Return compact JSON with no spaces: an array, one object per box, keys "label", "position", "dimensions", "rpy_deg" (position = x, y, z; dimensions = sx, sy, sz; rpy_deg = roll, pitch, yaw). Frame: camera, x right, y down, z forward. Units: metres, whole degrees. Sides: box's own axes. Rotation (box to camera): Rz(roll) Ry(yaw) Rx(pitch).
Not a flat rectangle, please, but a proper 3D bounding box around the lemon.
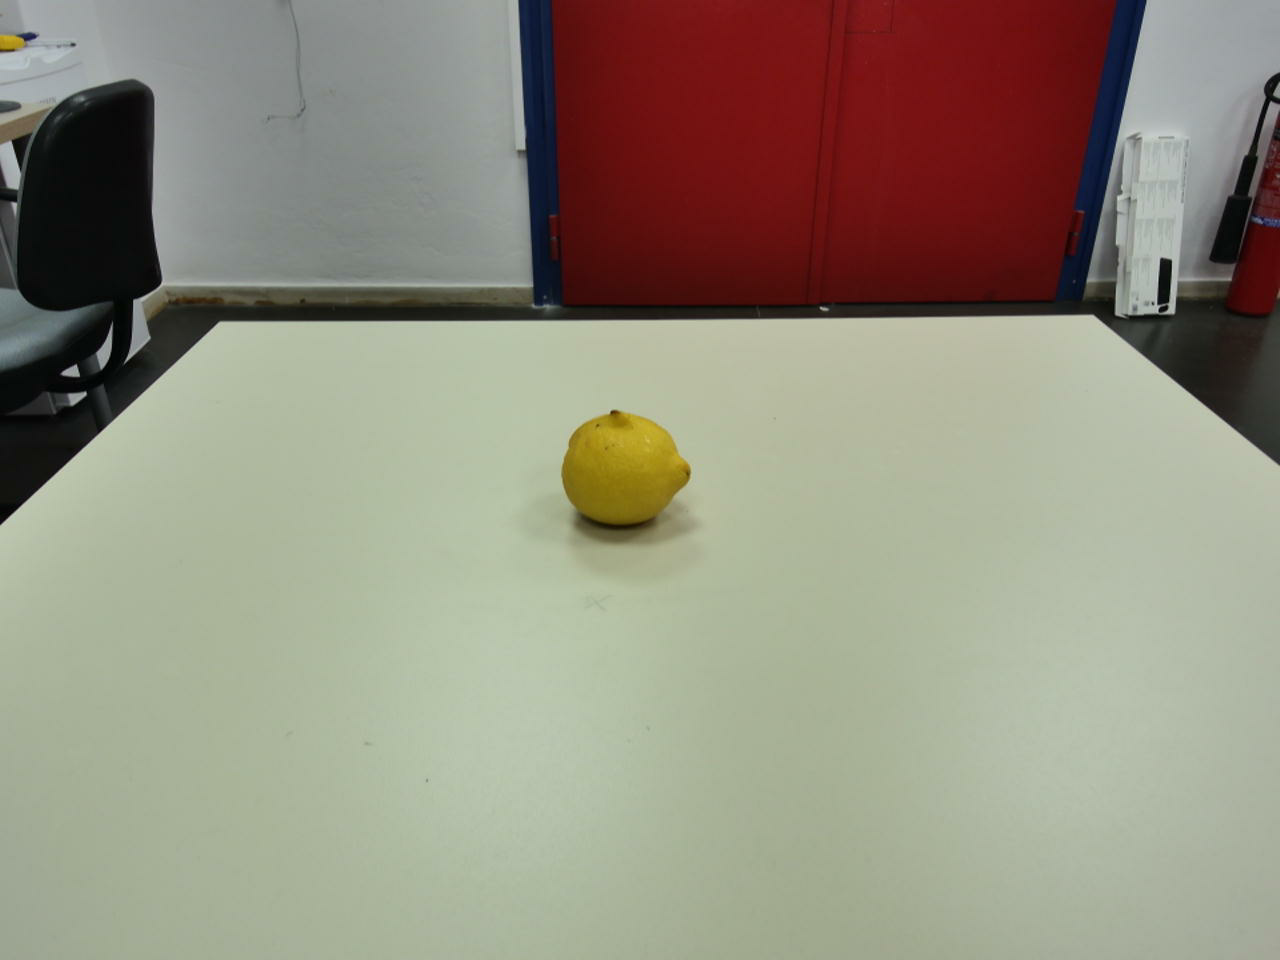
[{"label":"lemon","position":[-0.011,-0.010,0.599],"dimensions":[0.070,0.071,0.071],"rpy_deg":[-18,31,-30]}]
